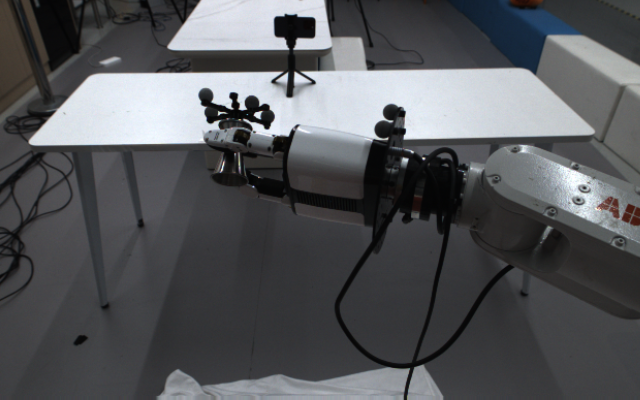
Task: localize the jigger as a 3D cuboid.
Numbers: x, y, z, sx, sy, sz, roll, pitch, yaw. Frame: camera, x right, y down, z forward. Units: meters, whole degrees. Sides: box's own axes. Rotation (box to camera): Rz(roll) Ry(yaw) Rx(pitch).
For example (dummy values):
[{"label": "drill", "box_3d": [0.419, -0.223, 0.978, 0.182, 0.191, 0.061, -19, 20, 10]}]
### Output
[{"label": "jigger", "box_3d": [-0.102, -0.055, 0.561, 0.043, 0.043, 0.071, 3, 72, 1]}]
